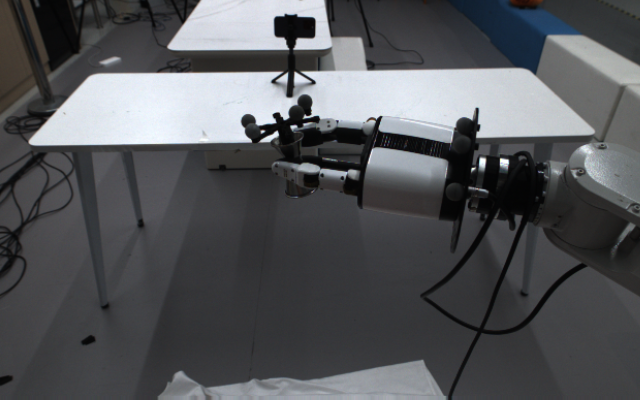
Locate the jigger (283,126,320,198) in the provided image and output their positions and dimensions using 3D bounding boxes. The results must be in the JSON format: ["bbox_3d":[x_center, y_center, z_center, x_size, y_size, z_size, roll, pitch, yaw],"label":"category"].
[{"bbox_3d":[-0.029,-0.042,0.574,0.043,0.071,0.043,-12,29,7],"label":"jigger"}]
